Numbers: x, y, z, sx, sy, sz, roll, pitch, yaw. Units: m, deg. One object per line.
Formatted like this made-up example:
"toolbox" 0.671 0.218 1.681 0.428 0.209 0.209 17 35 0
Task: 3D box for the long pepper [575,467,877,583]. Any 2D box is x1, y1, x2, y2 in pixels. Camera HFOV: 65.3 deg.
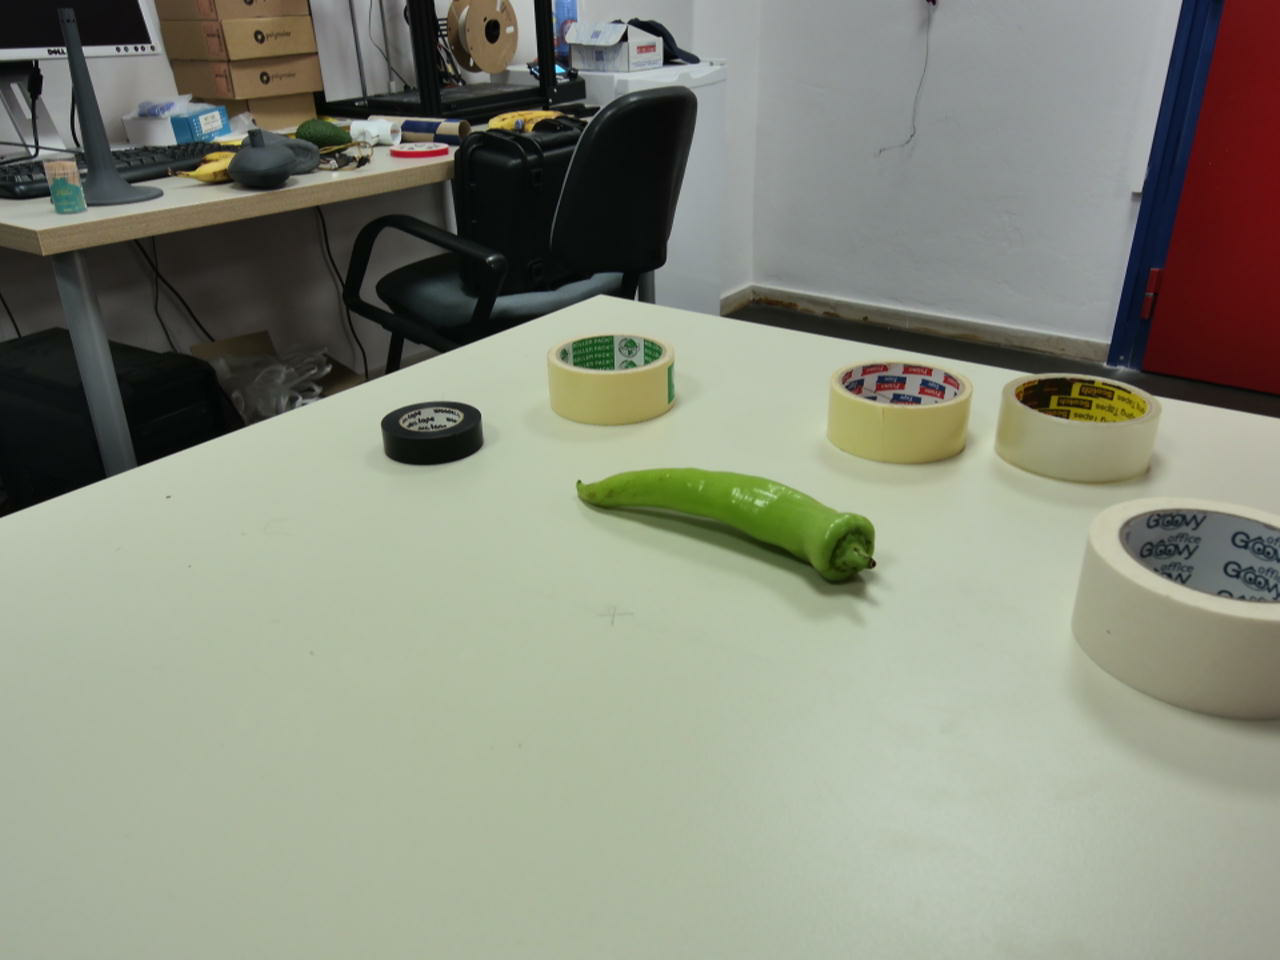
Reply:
"long pepper" 0.046 0.013 0.544 0.197 0.038 0.046 19 30 35
